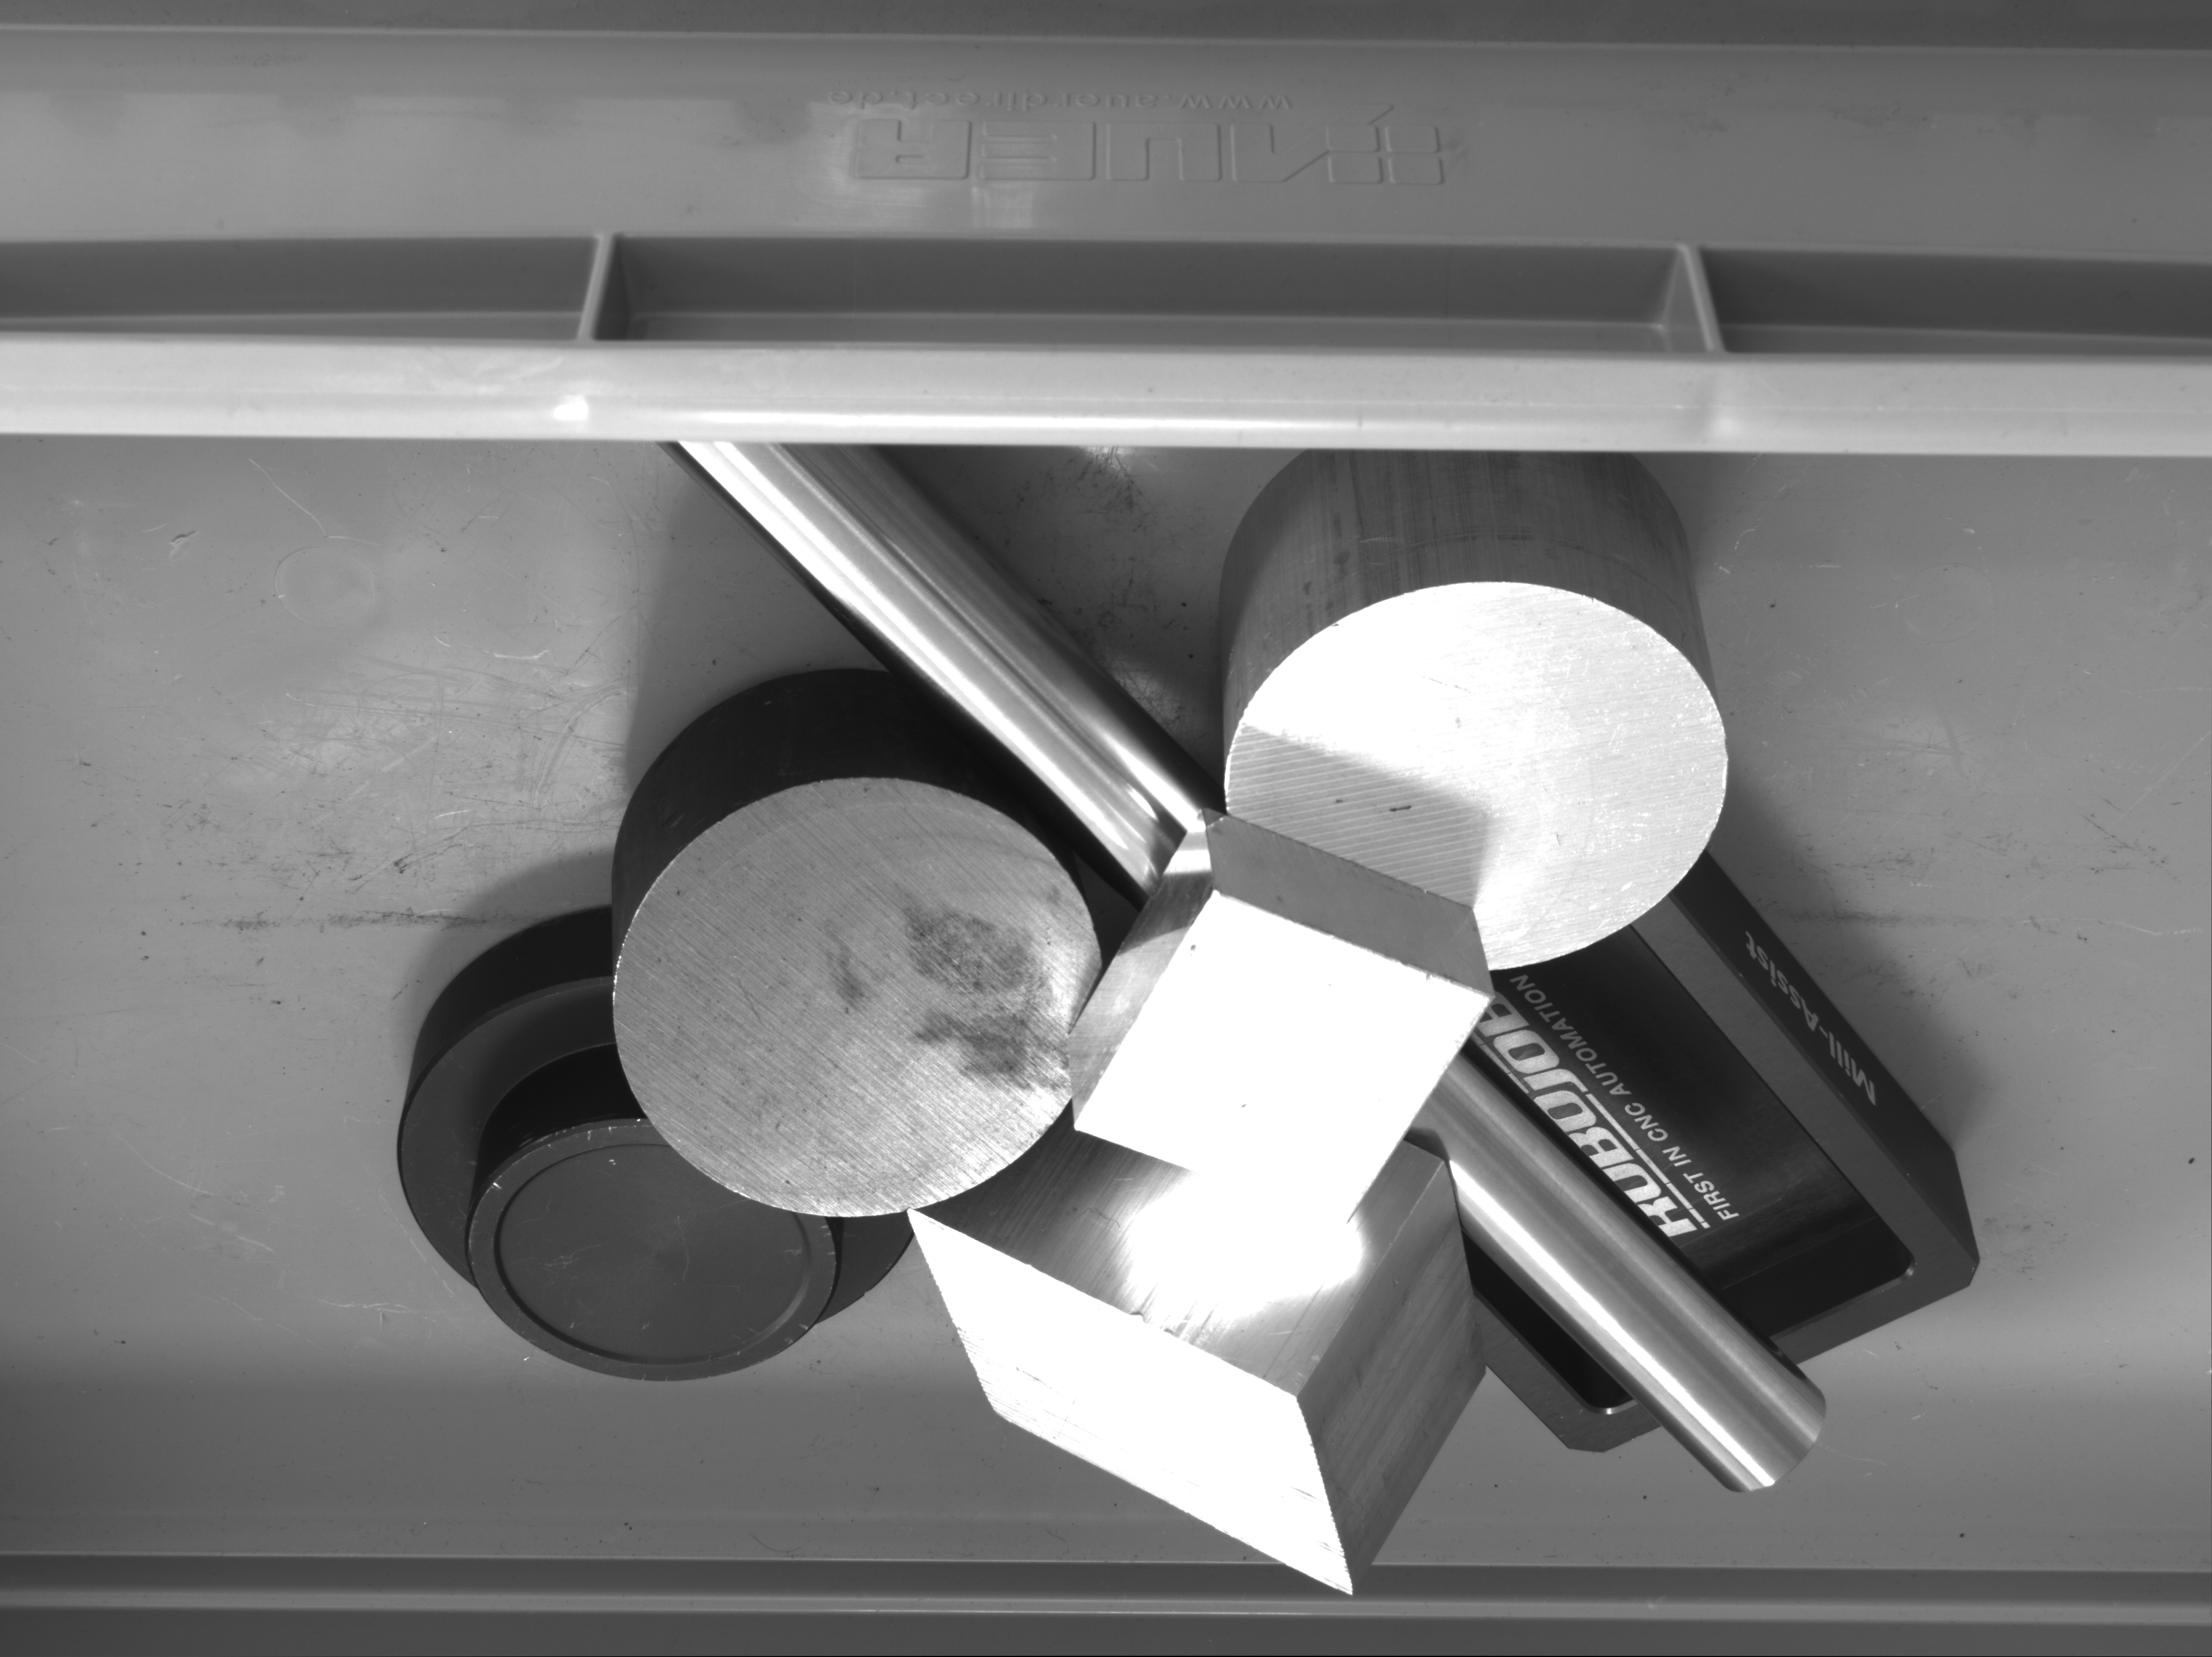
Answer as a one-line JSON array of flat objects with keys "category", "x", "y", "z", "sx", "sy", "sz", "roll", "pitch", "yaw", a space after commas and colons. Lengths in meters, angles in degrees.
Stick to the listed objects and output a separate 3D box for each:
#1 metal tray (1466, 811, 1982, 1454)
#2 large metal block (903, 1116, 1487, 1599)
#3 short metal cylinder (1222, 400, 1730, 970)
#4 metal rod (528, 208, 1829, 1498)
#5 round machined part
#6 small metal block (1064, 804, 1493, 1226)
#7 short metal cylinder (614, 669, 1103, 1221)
[{"category": "metal tray", "x": 0.091, "y": 0.055, "z": 0.681, "sx": 0.090, "sy": 0.030, "sz": 0.130, "roll": -30, "pitch": 124, "yaw": 22}, {"category": "large metal block", "x": 0.018, "y": 0.084, "z": 0.658, "sx": 0.080, "sy": 0.050, "sz": 0.080, "roll": 22, "pitch": 152, "yaw": 25}, {"category": "short metal cylinder", "x": 0.059, "y": -0.023, "z": 0.603, "sx": 0.080, "sy": 0.050, "sz": 0.080, "roll": 0, "pitch": 130, "yaw": 0}, {"category": "metal rod", "x": 0.021, "y": 0.012, "z": 0.616, "sx": 0.025, "sy": 0.025, "sz": 0.301, "roll": -35, "pitch": 112, "yaw": 26}, {"category": "round machined part", "x": -0.082, "y": 0.065, "z": 0.680, "sx": 0.098, "sy": 0.042, "sz": 0.098, "roll": 0, "pitch": 130, "yaw": 0}, {"category": "small metal block", "x": 0.027, "y": 0.031, "z": 0.595, "sx": 0.050, "sy": 0.025, "sz": 0.050, "roll": 21, "pitch": 119, "yaw": -16}, {"category": "short metal cylinder", "x": -0.043, "y": 0.019, "z": 0.623, "sx": 0.080, "sy": 0.050, "sz": 0.080, "roll": -3, "pitch": 114, "yaw": -7}]
